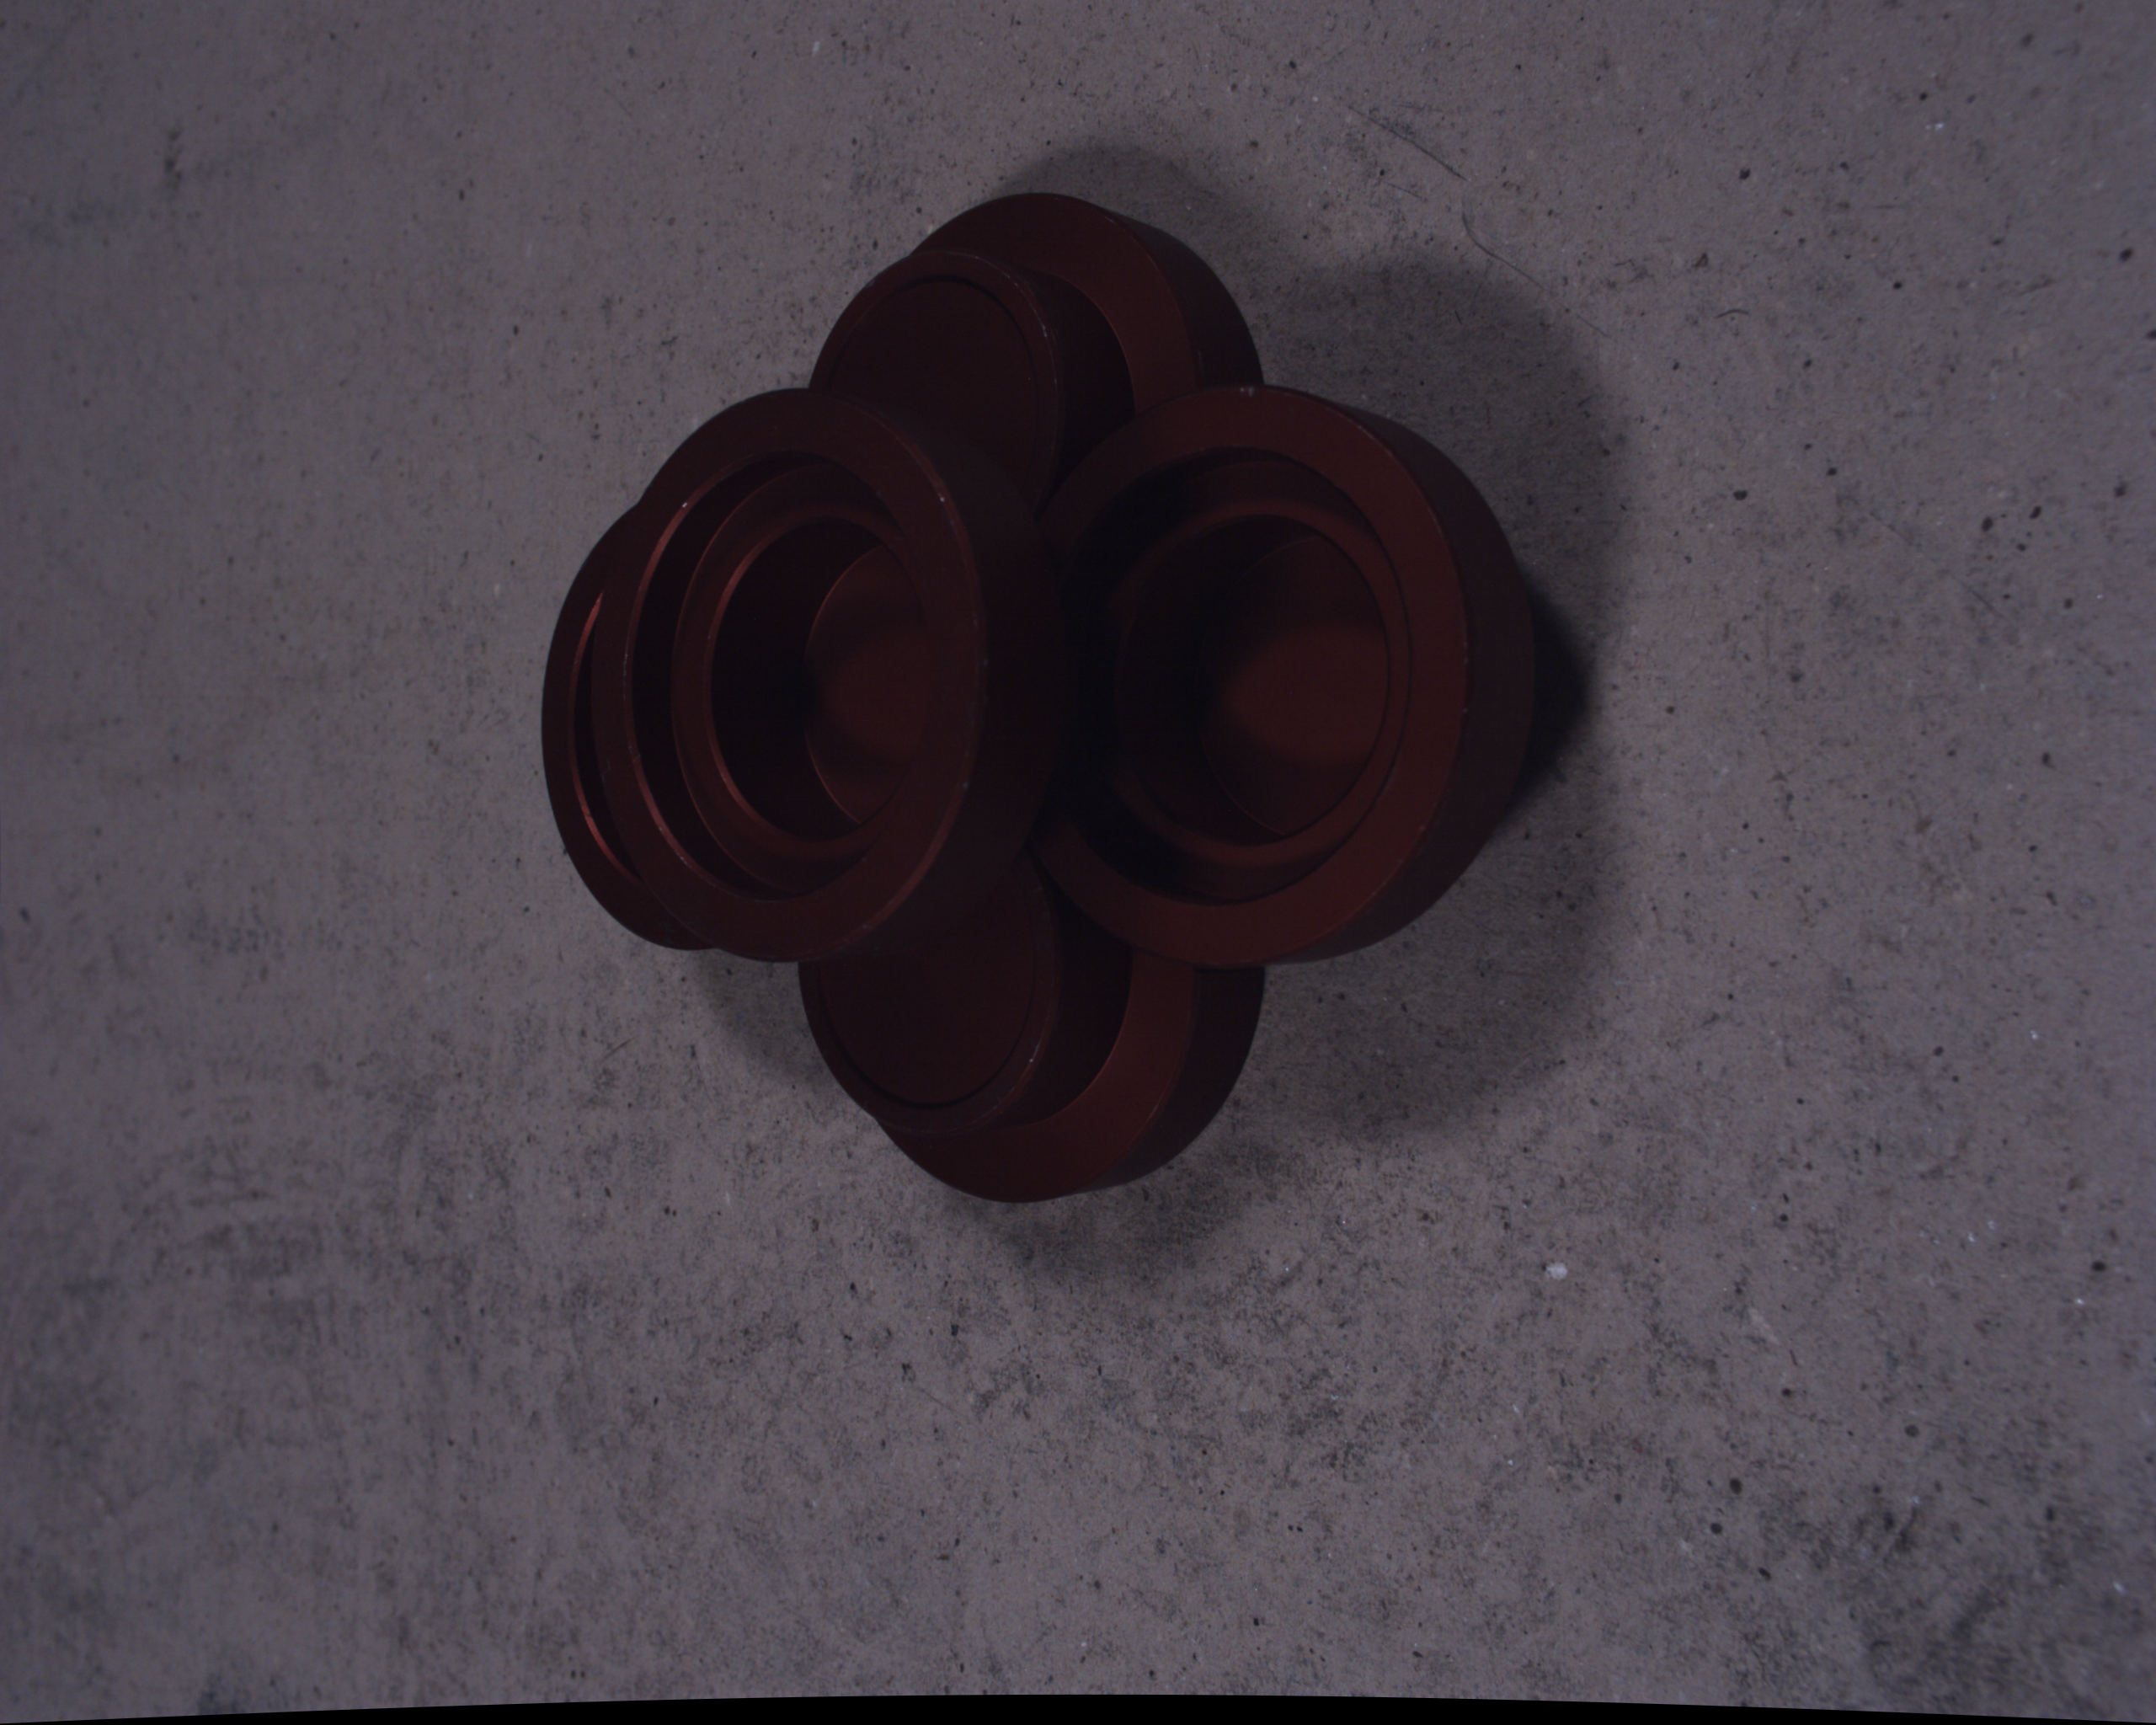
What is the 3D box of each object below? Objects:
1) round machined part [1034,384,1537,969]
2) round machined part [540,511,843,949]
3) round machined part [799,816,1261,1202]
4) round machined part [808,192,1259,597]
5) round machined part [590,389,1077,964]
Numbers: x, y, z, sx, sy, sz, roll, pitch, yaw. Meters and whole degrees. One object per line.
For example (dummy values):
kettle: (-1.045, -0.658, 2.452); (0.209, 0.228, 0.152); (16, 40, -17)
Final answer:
round machined part: (0.036, -0.031, 0.364); (0.098, 0.042, 0.097); (0, 90, 39)
round machined part: (-0.069, -0.031, 0.450); (0.098, 0.042, 0.097); (0, 90, 39)
round machined part: (-0.016, 0.018, 0.407); (0.098, 0.042, 0.097); (0, 90, 39)
round machined part: (-0.016, -0.081, 0.406); (0.098, 0.042, 0.097); (0, 90, 39)
round machined part: (-0.039, -0.032, 0.371); (0.098, 0.042, 0.097); (0, 91, 39)
